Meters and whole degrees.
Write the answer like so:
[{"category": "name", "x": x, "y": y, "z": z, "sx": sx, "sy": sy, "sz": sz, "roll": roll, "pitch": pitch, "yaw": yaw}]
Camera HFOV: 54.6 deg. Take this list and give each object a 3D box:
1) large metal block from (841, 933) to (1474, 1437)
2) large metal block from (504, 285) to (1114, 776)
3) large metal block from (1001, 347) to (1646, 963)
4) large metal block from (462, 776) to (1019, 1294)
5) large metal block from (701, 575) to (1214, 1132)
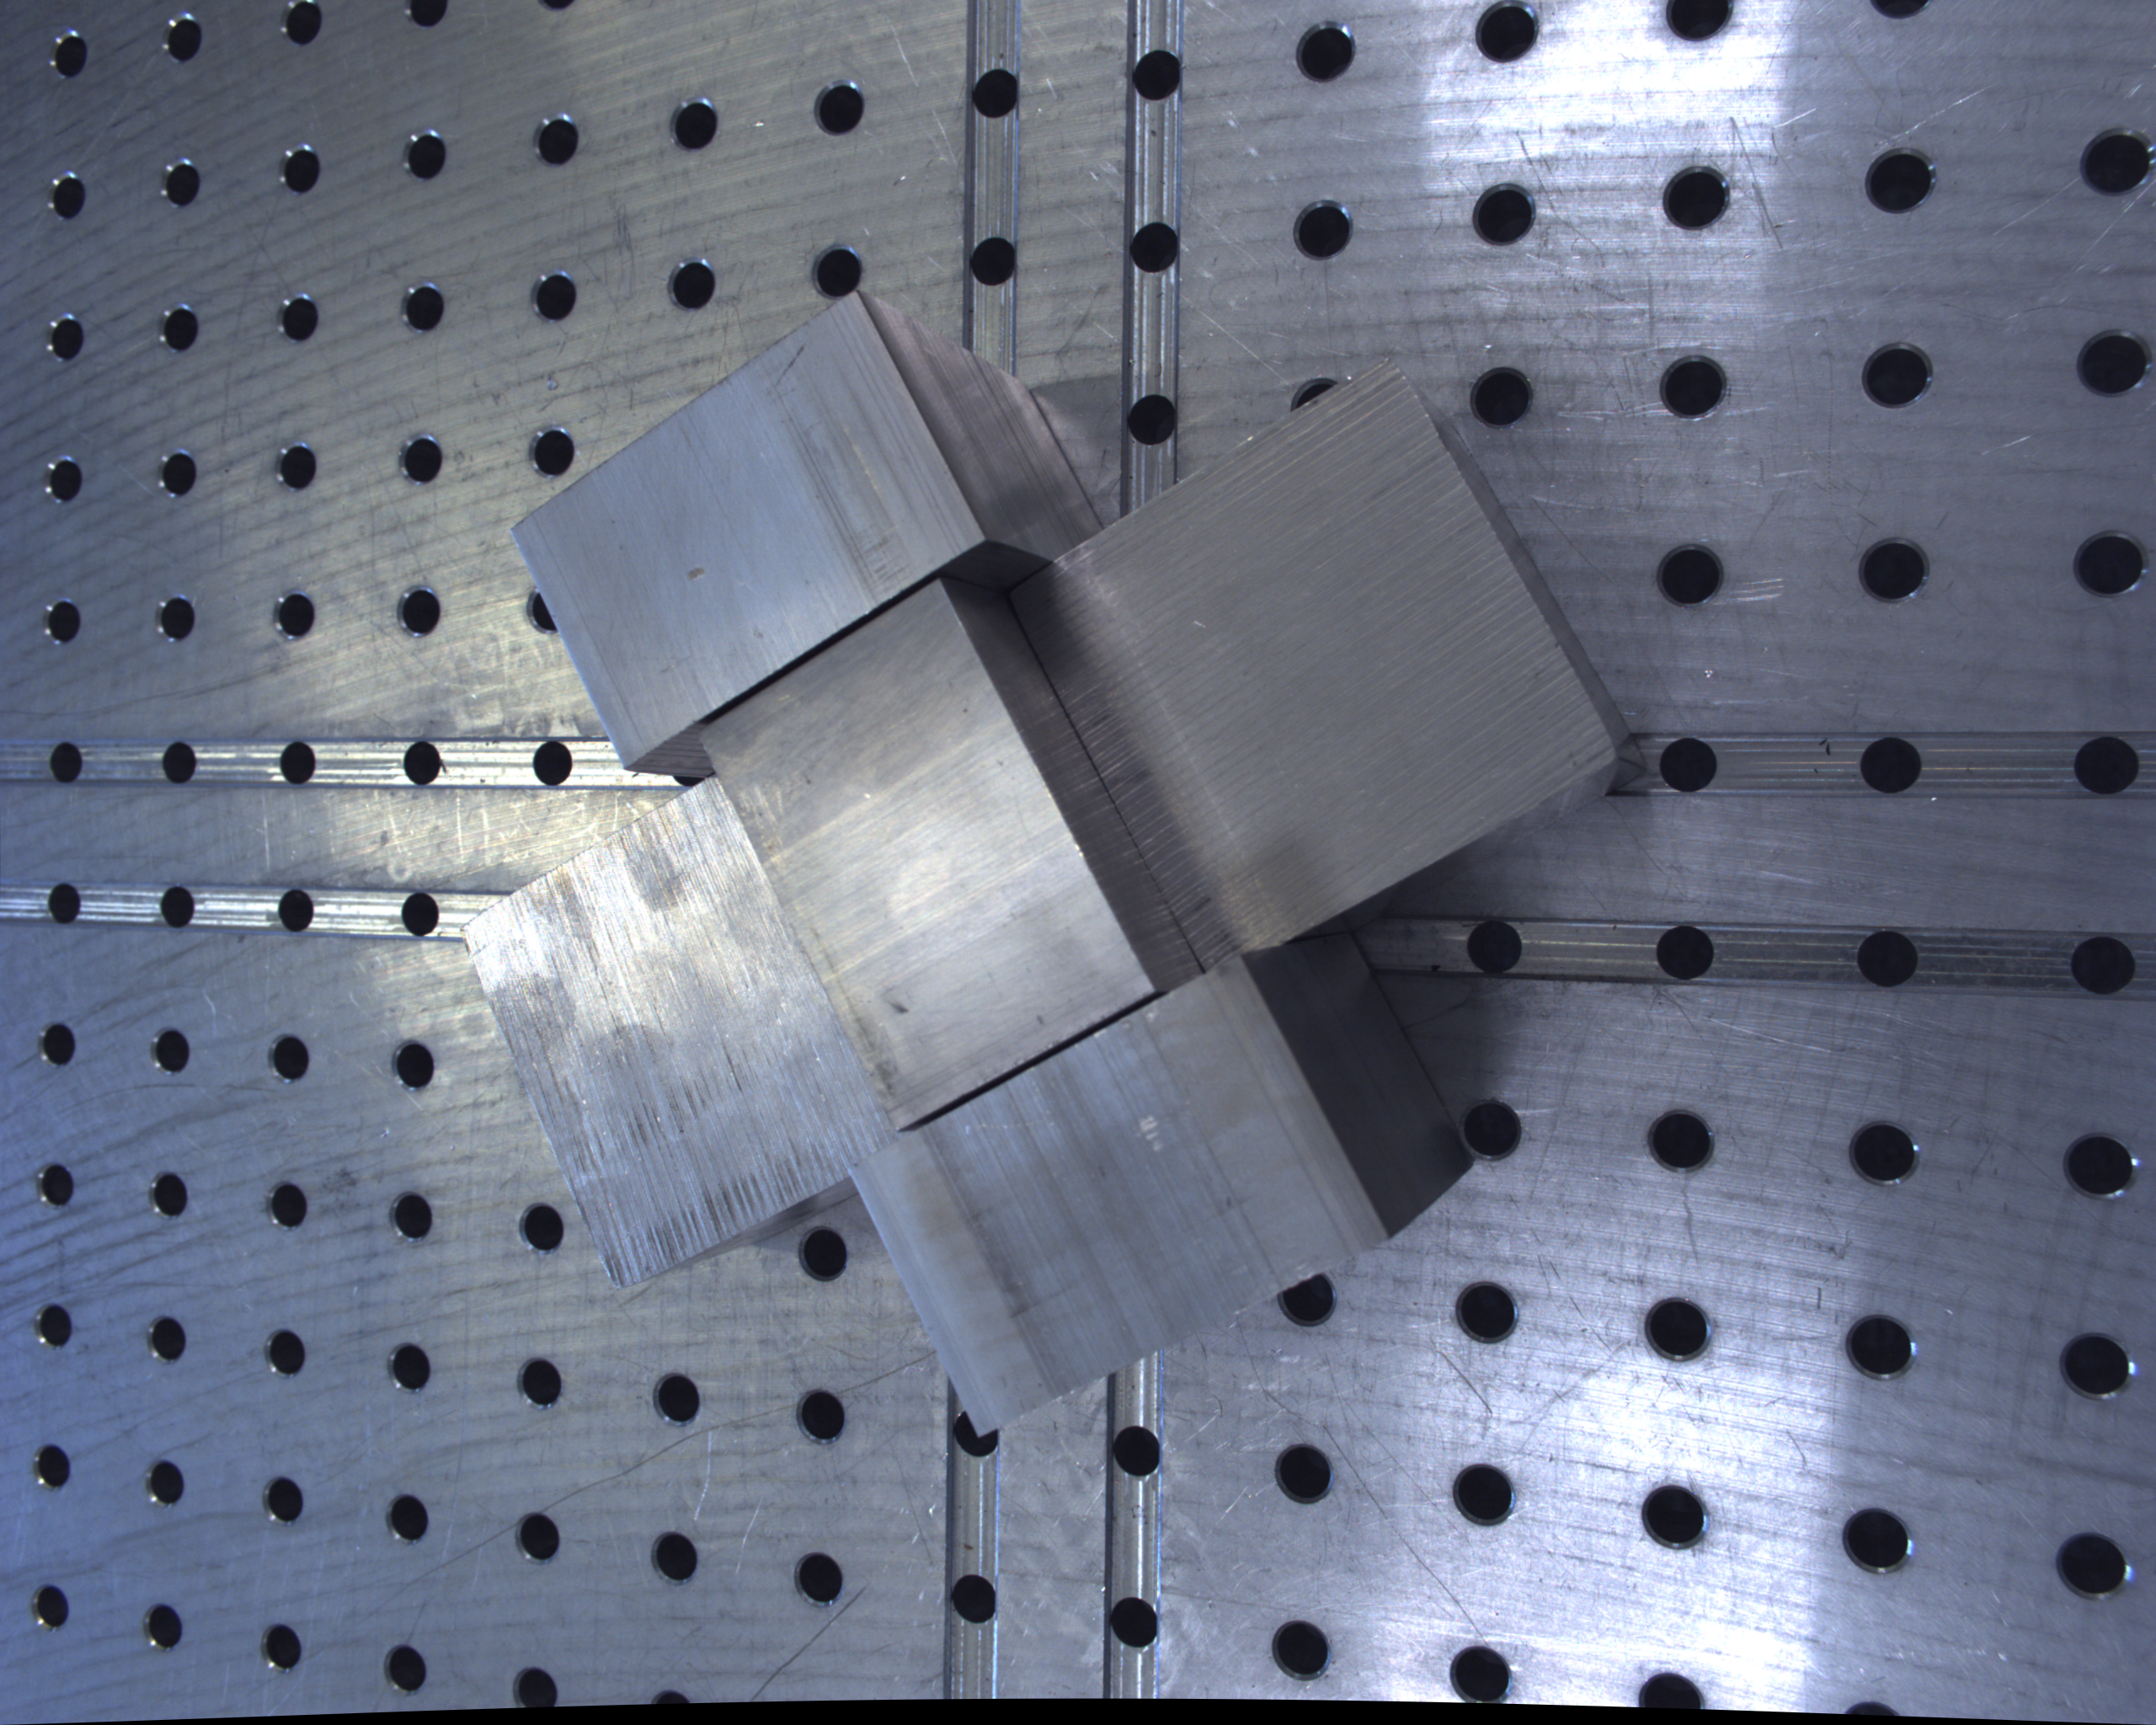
[{"category": "large metal block", "x": 0.018, "y": 0.055, "z": 0.377, "sx": 0.080, "sy": 0.080, "sz": 0.050, "roll": -30, "pitch": 80, "yaw": 17}, {"category": "large metal block", "x": -0.046, "y": -0.057, "z": 0.399, "sx": 0.080, "sy": 0.080, "sz": 0.050, "roll": -30, "pitch": 80, "yaw": 18}, {"category": "large metal block", "x": 0.046, "y": -0.034, "z": 0.383, "sx": 0.080, "sy": 0.050, "sz": 0.080, "roll": -30, "pitch": 82, "yaw": 17}, {"category": "large metal block", "x": -0.064, "y": 0.031, "z": 0.423, "sx": 0.080, "sy": 0.050, "sz": 0.080, "roll": -28, "pitch": 80, "yaw": 18}, {"category": "large metal block", "x": -0.013, "y": -0.002, "z": 0.388, "sx": 0.050, "sy": 0.080, "sz": 0.080, "roll": -30, "pitch": 80, "yaw": 18}]
